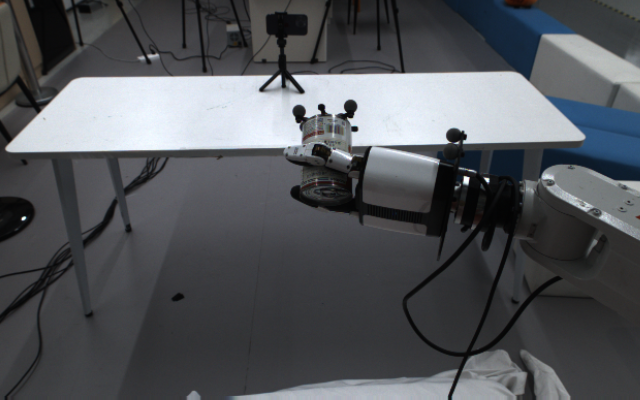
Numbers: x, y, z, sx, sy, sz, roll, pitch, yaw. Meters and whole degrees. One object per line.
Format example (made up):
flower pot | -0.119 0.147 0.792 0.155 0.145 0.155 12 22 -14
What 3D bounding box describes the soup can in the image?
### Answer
soup can | 0.010 -0.051 0.624 0.067 0.067 0.101 1 68 -1
